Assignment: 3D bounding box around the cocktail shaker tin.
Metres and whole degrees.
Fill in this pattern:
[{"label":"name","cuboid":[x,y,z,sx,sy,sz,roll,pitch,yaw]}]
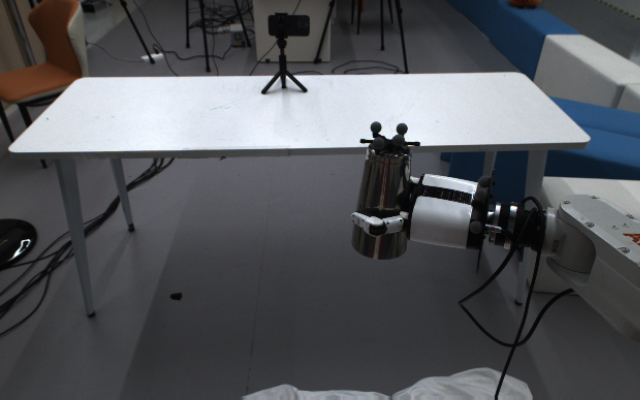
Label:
[{"label":"cocktail shaker tin","cuboid":[0.102,-0.004,0.761,0.093,0.170,0.093,2,28,-1]}]
